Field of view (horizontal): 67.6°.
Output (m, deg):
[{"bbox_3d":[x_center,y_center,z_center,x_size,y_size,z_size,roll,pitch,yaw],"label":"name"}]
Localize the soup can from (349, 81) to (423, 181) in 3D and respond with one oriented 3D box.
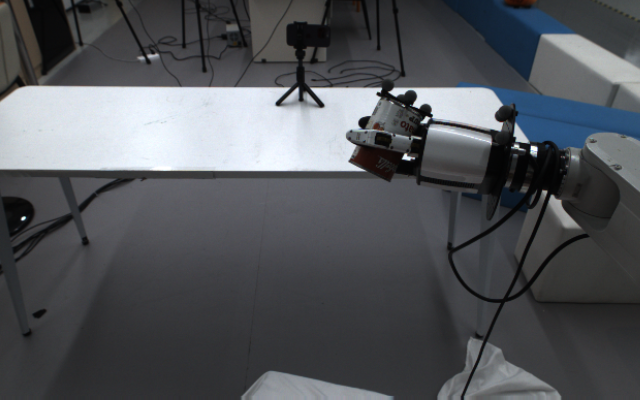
[{"bbox_3d":[0.093,-0.085,0.682,0.067,0.101,0.067,26,5,-3],"label":"soup can"}]
